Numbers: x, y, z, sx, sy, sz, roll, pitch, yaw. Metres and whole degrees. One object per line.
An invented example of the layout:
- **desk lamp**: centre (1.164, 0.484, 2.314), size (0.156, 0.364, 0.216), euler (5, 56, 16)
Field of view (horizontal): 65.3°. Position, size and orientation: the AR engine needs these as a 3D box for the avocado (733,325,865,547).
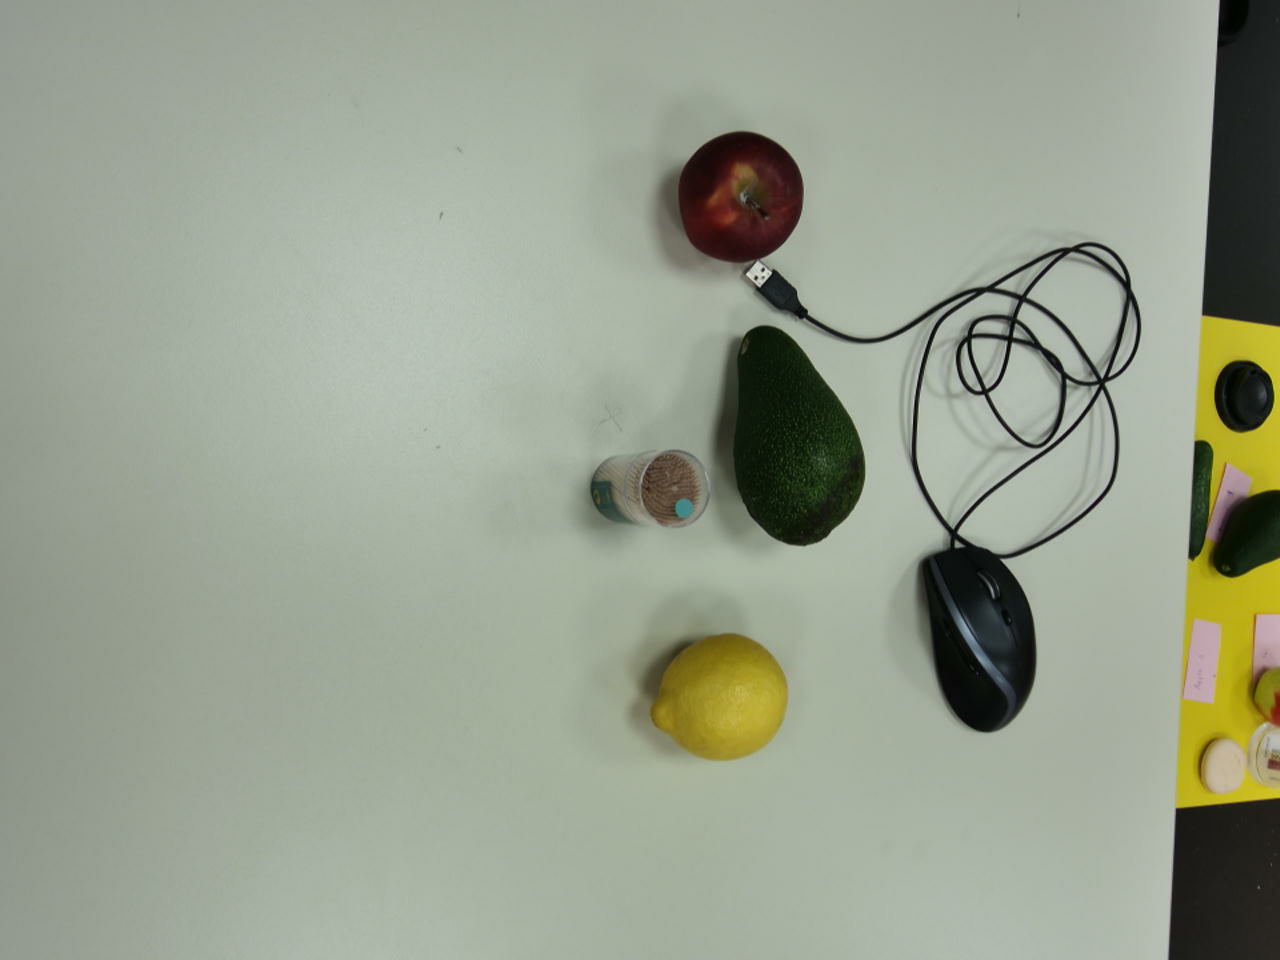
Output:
- **avocado**: centre (0.092, -0.024, 0.562), size (0.074, 0.076, 0.123), euler (11, 86, -21)
